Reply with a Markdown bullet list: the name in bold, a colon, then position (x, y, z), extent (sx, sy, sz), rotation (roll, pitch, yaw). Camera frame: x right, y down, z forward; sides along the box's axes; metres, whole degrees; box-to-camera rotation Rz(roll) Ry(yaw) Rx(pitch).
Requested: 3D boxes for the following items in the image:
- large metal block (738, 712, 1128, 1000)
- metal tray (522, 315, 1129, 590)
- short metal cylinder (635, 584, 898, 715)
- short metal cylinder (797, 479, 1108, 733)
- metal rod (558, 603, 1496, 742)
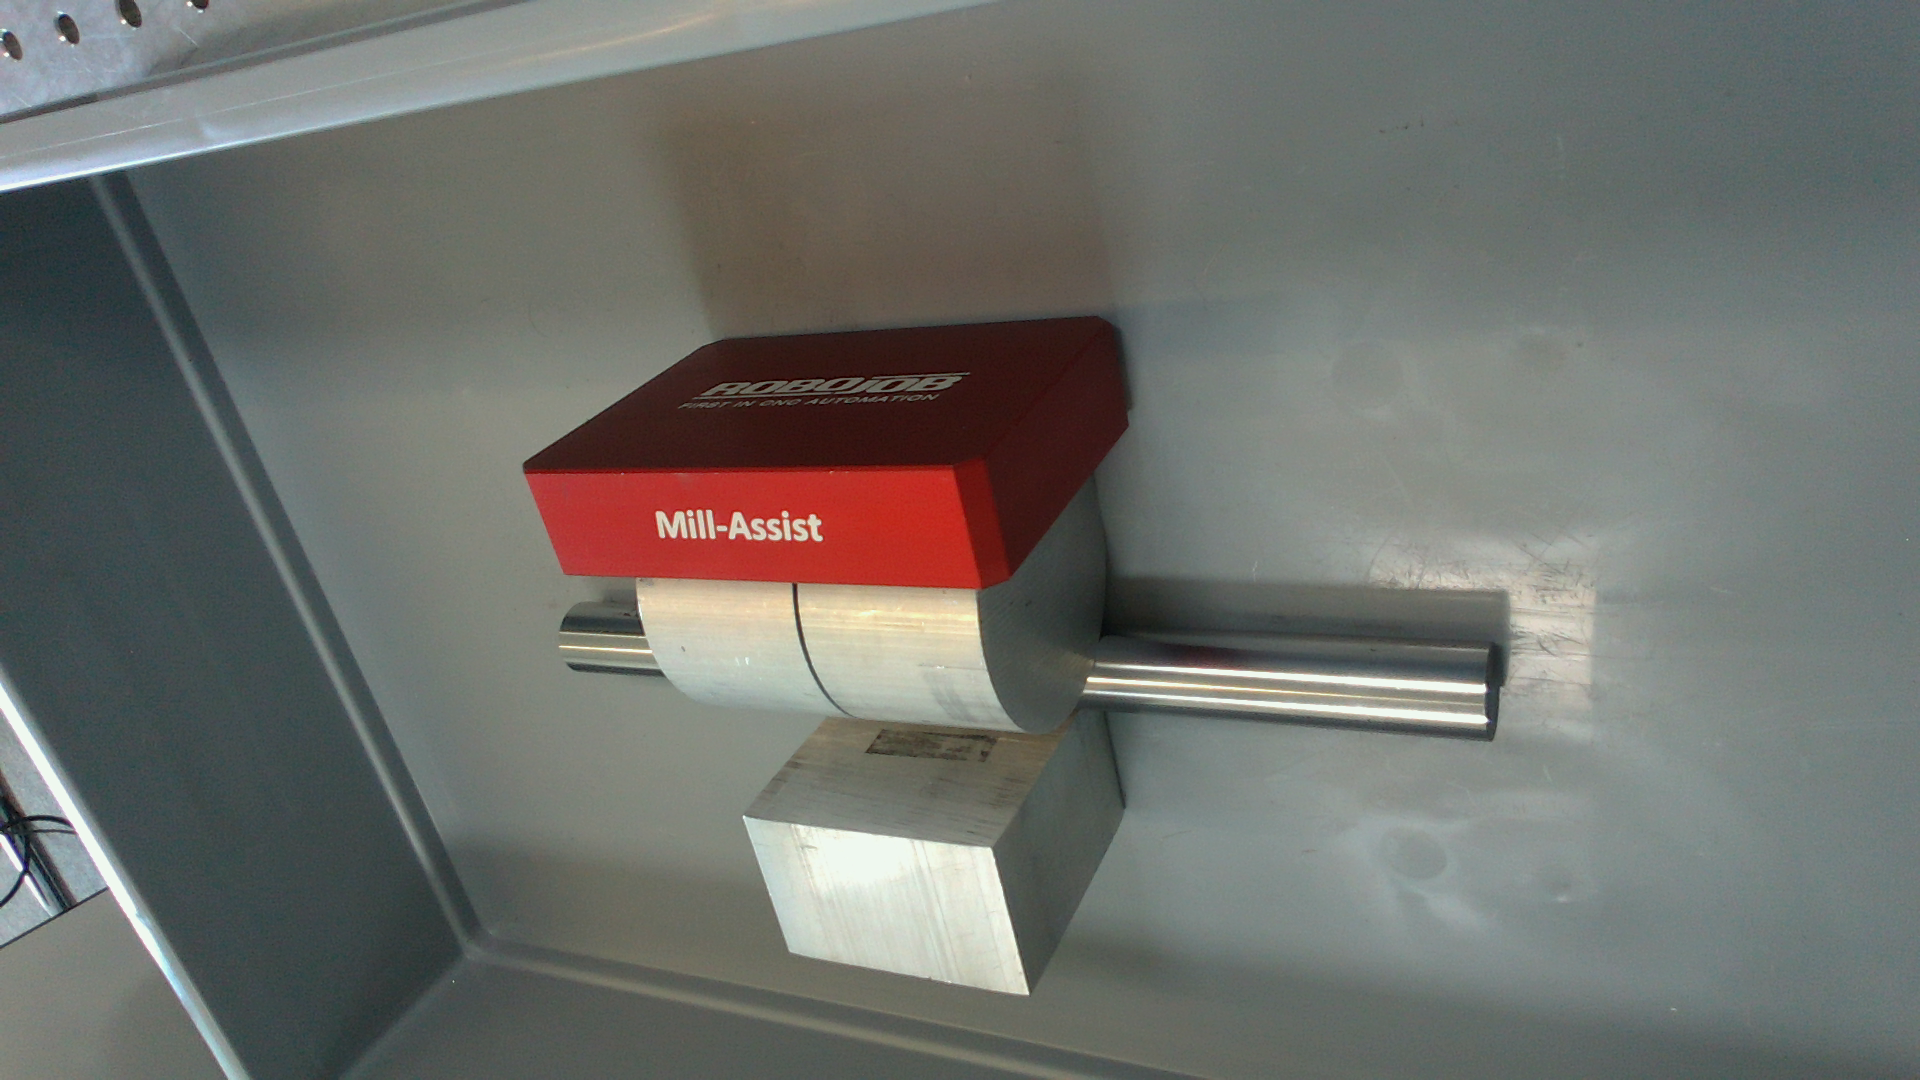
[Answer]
- **large metal block**: position (-0.005, 0.082, 0.408), extent (0.080, 0.080, 0.050), rotation (1, 119, 28)
- **metal tray**: position (-0.033, -0.024, 0.352), extent (0.130, 0.090, 0.030), rotation (1, 119, 28)
- **short metal cylinder**: position (-0.045, 0.008, 0.386), extent (0.050, 0.080, 0.080), rotation (1, 119, 28)
- **short metal cylinder**: position (0.001, 0.008, 0.362), extent (0.050, 0.080, 0.080), rotation (2, 119, 28)
- **metal rod**: position (0.000, 0.036, 0.413), extent (0.299, 0.025, 0.025), rotation (1, 119, 28)
